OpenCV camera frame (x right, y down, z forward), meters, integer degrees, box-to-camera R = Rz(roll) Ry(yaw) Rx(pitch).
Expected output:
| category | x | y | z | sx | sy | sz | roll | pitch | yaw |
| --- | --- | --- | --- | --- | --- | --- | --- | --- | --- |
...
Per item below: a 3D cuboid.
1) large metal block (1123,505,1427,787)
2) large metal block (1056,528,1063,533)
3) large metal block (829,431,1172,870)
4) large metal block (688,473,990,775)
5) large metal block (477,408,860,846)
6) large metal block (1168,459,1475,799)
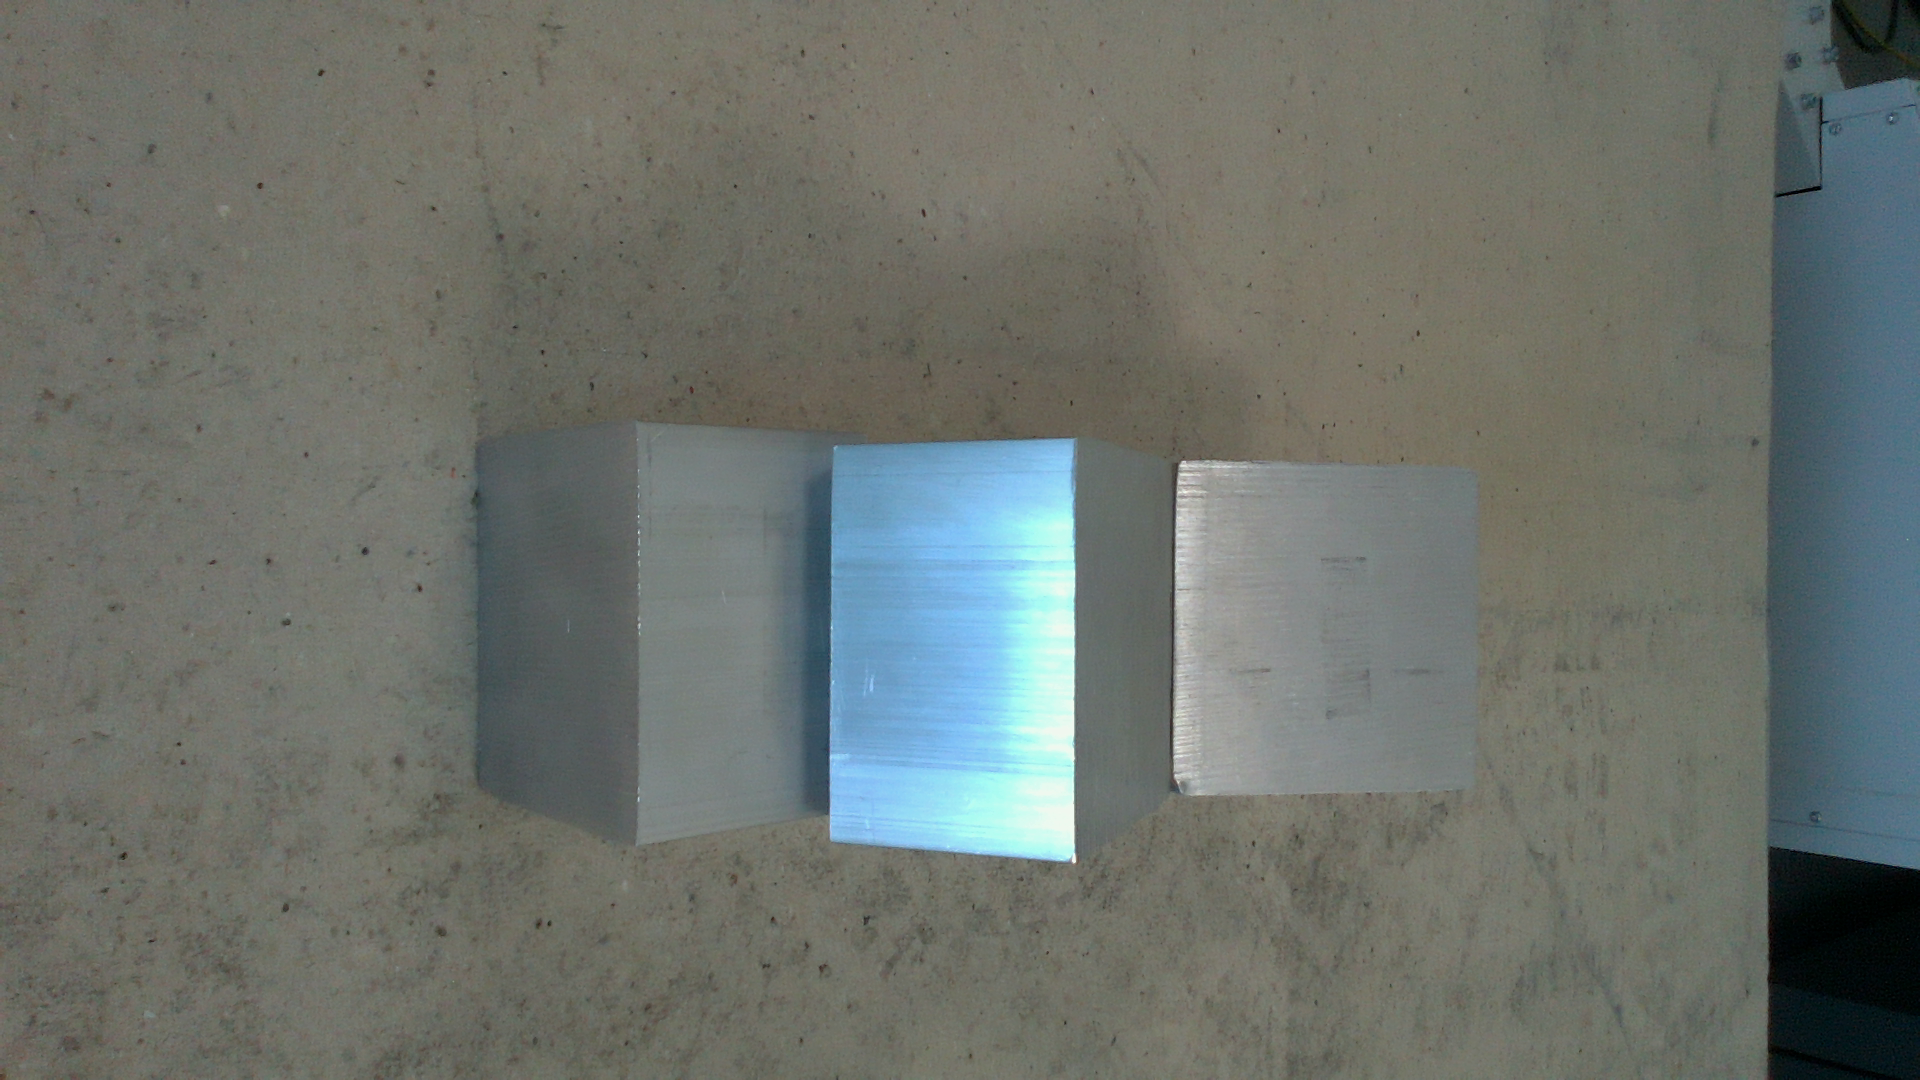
| category | x | y | z | sx | sy | sz | roll | pitch | yaw |
| --- | --- | --- | --- | --- | --- | --- | --- | --- | --- |
| large metal block | 0.099 | 0.030 | 0.437 | 0.050 | 0.080 | 0.080 | 0 | 90 | -41 |
| large metal block | 0.040 | 0.024 | 0.405 | 0.080 | 0.050 | 0.080 | 0 | 90 | -40 |
| large metal block | 0.012 | 0.020 | 0.297 | 0.080 | 0.050 | 0.080 | 1 | 89 | -69 |
| large metal block | -0.023 | 0.021 | 0.353 | 0.080 | 0.050 | 0.080 | 0 | 90 | -40 |
| large metal block | -0.065 | 0.016 | 0.298 | 0.050 | 0.080 | 0.080 | -1 | 89 | -39 |
| large metal block | 0.084 | 0.022 | 0.358 | 0.080 | 0.050 | 0.080 | 1 | 89 | -13 |
